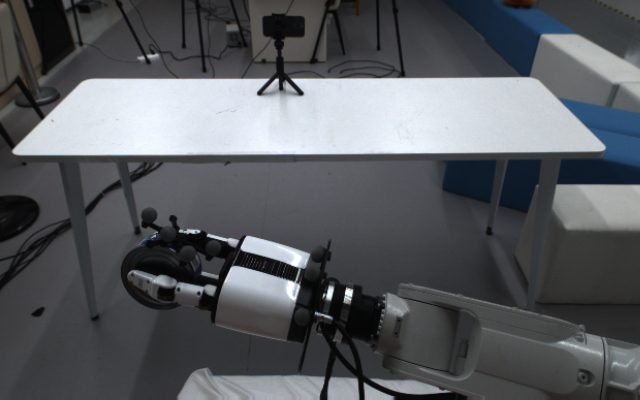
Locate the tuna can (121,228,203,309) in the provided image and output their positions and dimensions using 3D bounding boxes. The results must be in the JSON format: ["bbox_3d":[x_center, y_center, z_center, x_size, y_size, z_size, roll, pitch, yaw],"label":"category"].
[{"bbox_3d":[-0.182,0.084,0.565,0.085,0.085,0.034,4,20,3],"label":"tuna can"}]
